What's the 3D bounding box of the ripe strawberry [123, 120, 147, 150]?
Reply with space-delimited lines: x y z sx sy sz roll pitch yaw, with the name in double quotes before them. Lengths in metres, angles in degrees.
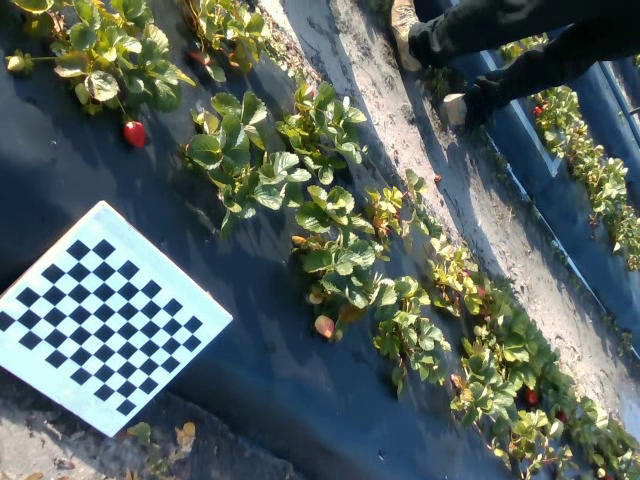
"ripe strawberry" -0.255 -0.143 0.824 0.030 0.044 0.033 -17 -7 -16
